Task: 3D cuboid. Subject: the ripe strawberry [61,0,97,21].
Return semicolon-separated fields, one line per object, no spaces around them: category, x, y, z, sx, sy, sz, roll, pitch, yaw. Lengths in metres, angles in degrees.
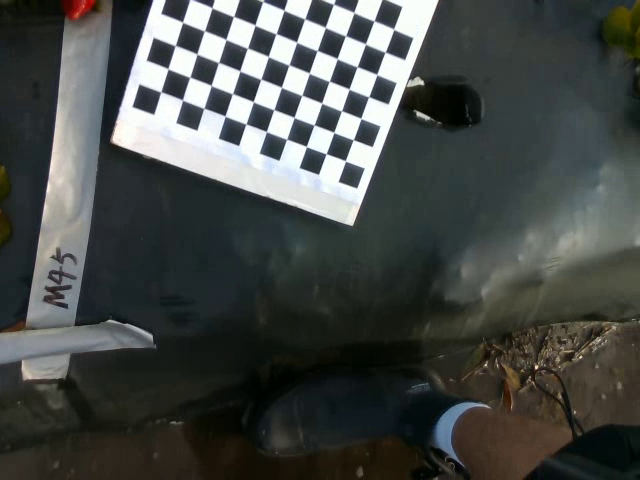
ripe strawberry;-0.232;-0.222;0.734;0.050;0.055;0.035;12;-10;-19
